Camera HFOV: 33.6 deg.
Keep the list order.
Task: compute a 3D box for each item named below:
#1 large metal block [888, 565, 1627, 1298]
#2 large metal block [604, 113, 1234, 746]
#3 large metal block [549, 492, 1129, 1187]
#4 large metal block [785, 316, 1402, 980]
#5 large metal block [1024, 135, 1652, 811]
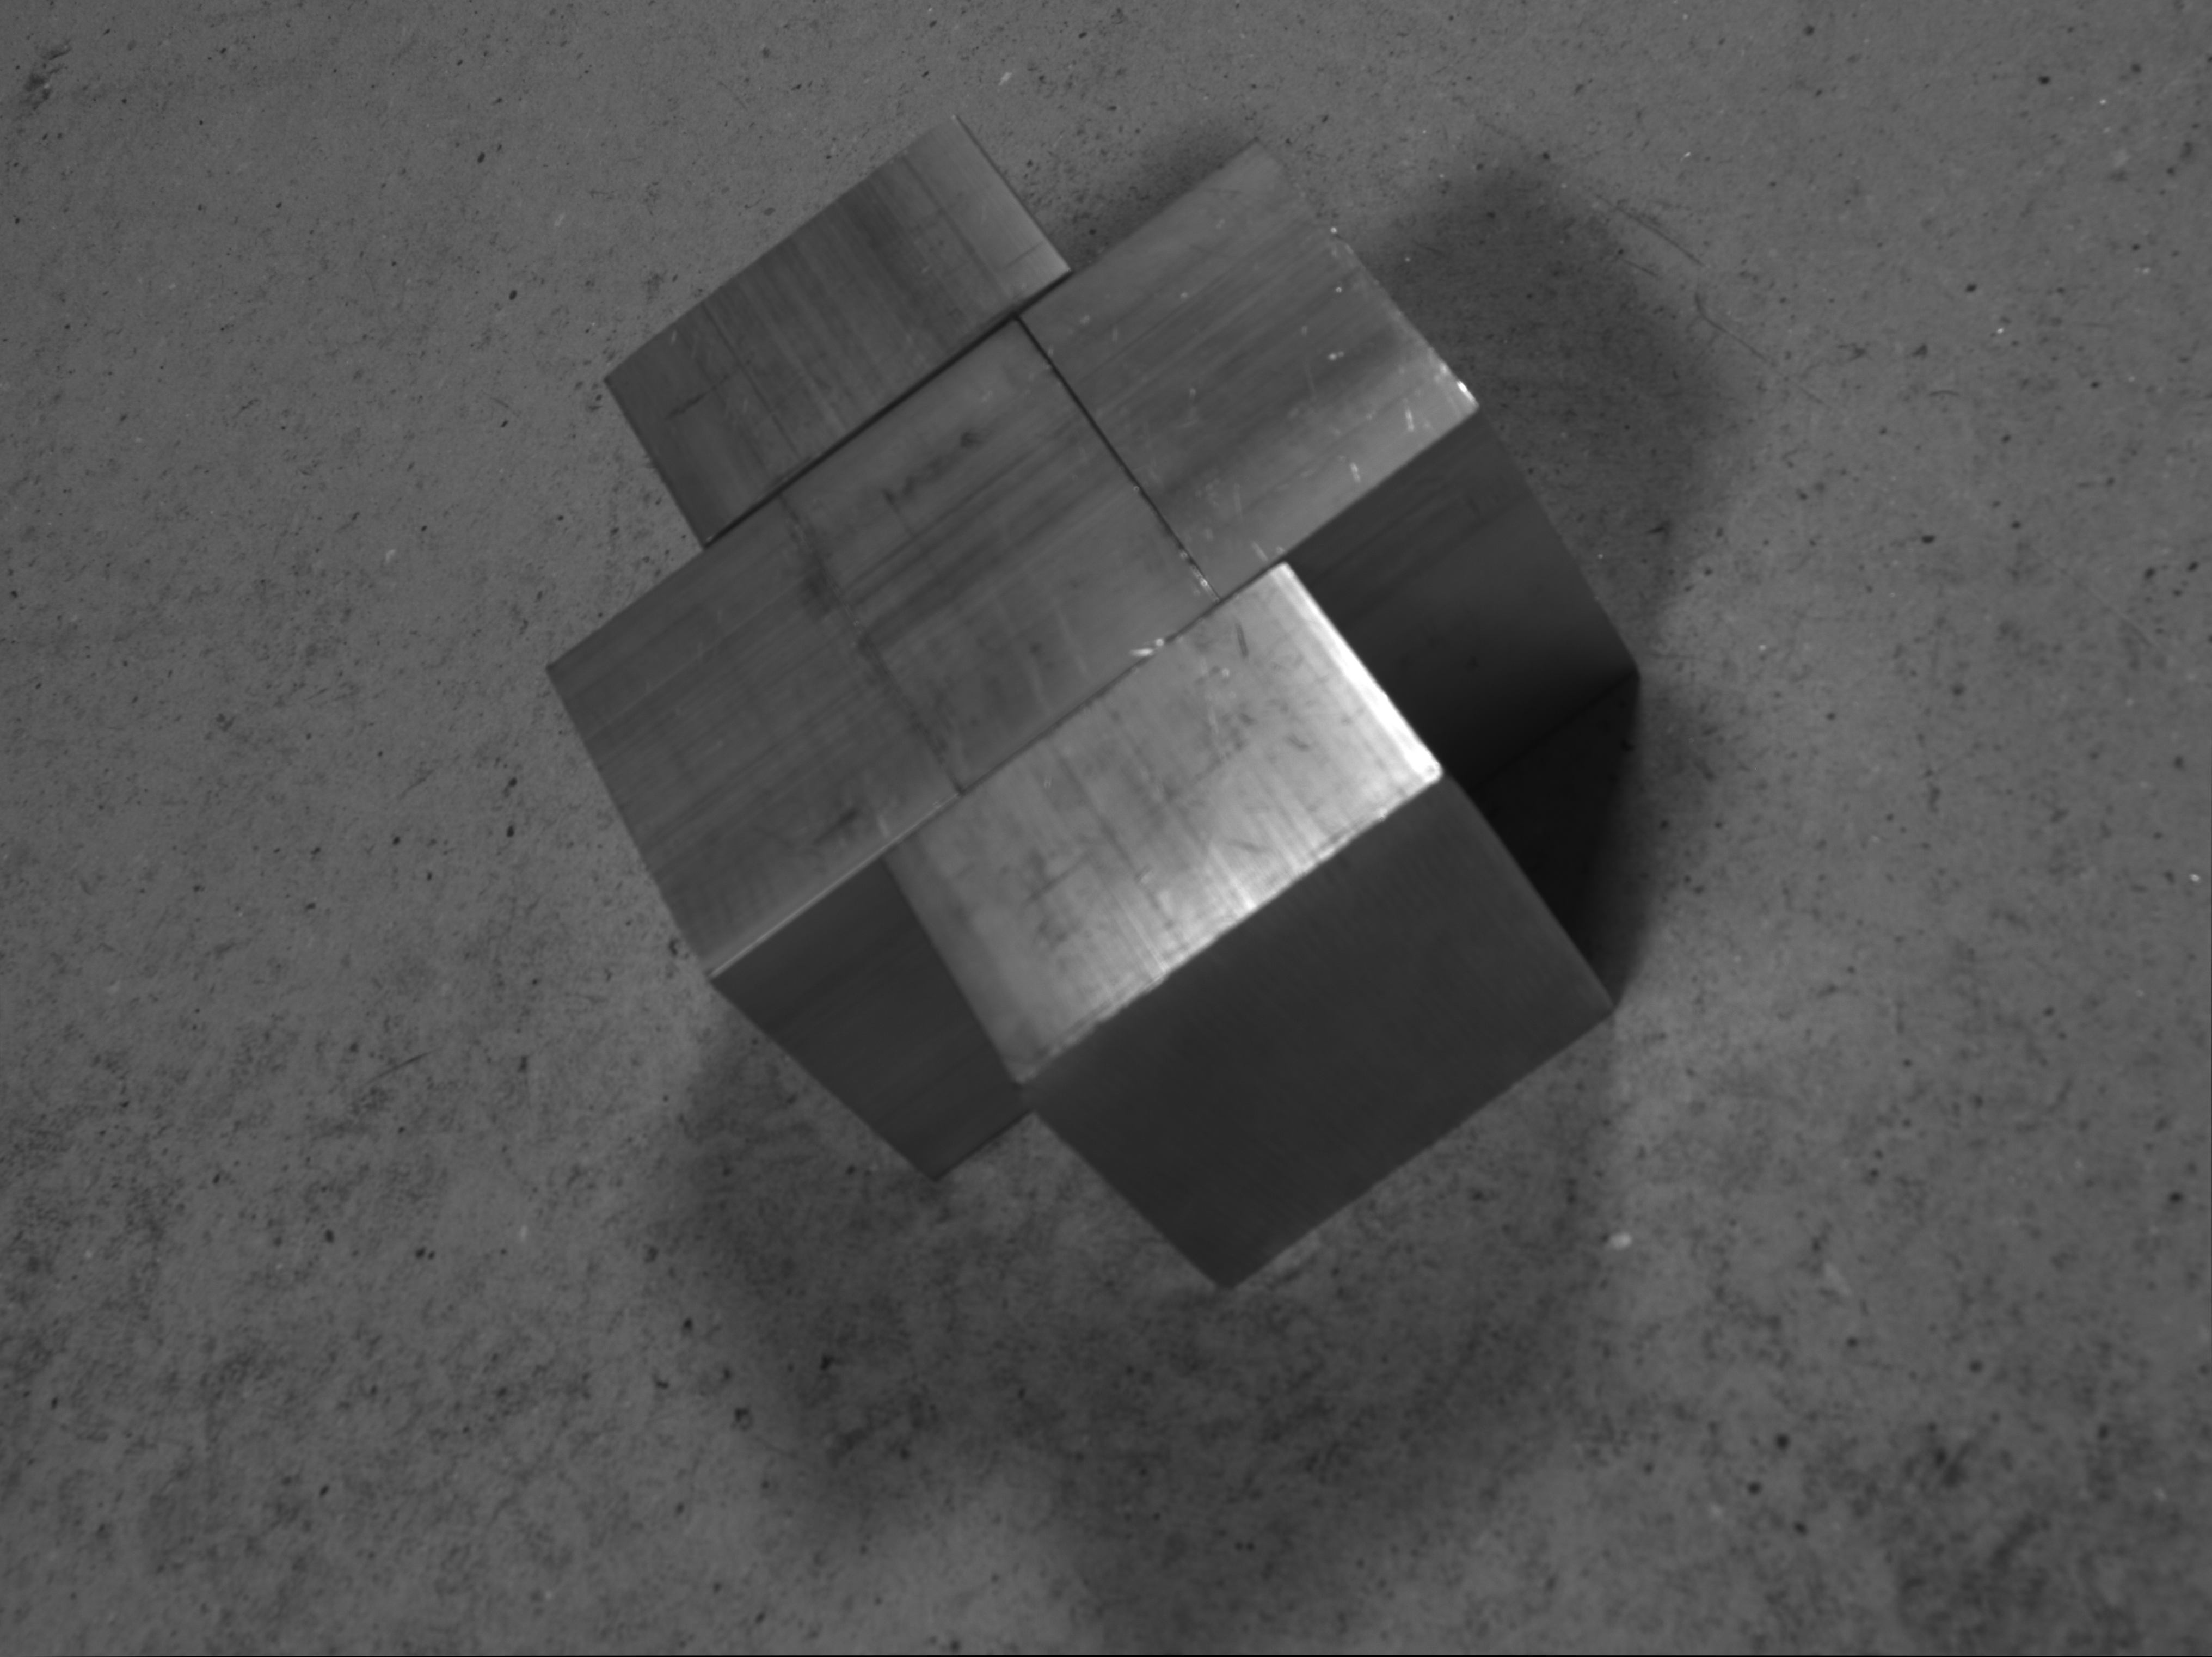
[{"bbox_3d":[0.025,0.018,0.585,0.080,0.080,0.050,-36,51,4],"label":"large metal block"},{"bbox_3d":[-0.030,-0.068,0.668,0.080,0.080,0.050,-36,51,4],"label":"large metal block"},{"bbox_3d":[-0.042,0.003,0.630,0.050,0.080,0.080,-36,51,4],"label":"large metal block"},{"bbox_3d":[-0.001,-0.027,0.627,0.050,0.080,0.080,-36,51,4],"label":"large metal block"},{"bbox_3d":[0.040,-0.057,0.623,0.050,0.080,0.080,-36,51,4],"label":"large metal block"}]
